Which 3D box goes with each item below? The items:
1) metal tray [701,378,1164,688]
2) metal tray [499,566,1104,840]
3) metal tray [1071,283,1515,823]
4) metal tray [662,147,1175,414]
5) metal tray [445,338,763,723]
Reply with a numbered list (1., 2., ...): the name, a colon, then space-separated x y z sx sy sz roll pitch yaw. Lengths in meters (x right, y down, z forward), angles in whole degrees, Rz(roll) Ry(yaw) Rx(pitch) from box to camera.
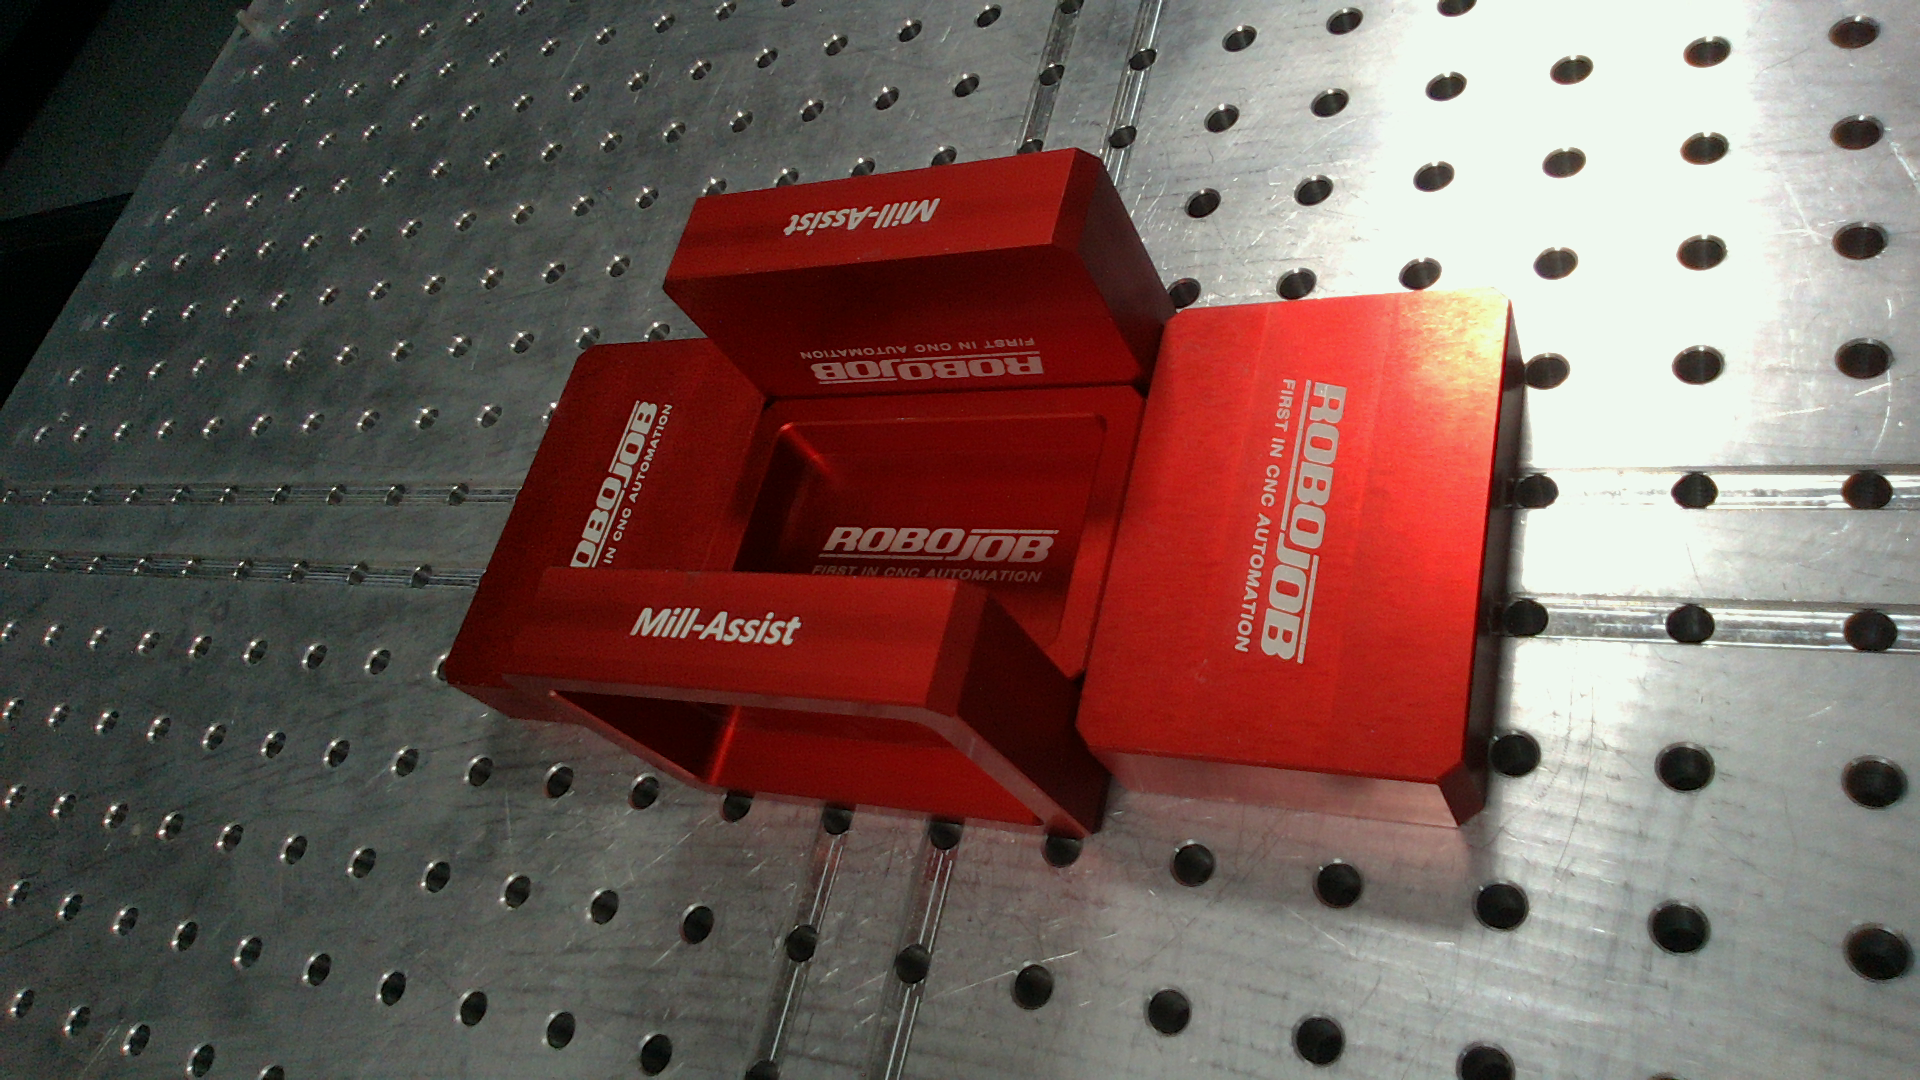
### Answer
1. metal tray: -0.011 0.002 0.396 0.130 0.030 0.090 1 62 29
2. metal tray: -0.038 0.041 0.348 0.130 0.090 0.030 1 62 29
3. metal tray: 0.087 -0.001 0.345 0.090 0.030 0.130 1 62 28
4. metal tray: -0.008 -0.064 0.399 0.130 0.090 0.030 1 62 29
5. metal tray: -0.105 -0.005 0.453 0.090 0.030 0.130 1 62 29
